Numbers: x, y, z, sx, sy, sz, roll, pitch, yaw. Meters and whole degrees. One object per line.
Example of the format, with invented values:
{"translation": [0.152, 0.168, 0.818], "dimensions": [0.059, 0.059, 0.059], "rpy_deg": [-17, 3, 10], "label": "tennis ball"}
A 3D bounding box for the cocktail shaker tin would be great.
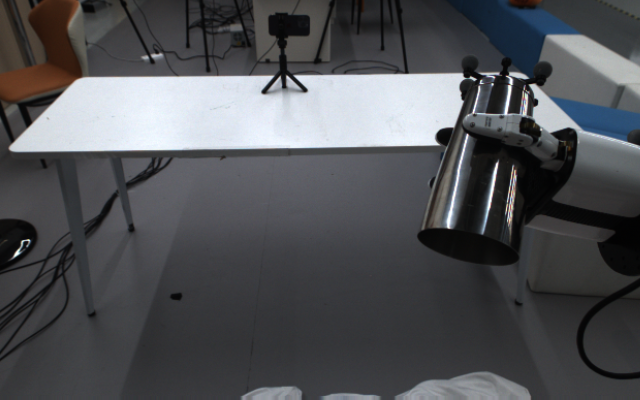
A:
{"translation": [0.161, -0.032, 0.470], "dimensions": [0.093, 0.093, 0.170], "rpy_deg": [13, 70, 15], "label": "cocktail shaker tin"}
